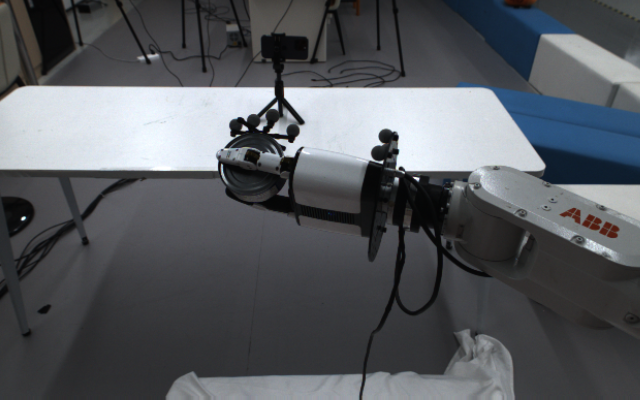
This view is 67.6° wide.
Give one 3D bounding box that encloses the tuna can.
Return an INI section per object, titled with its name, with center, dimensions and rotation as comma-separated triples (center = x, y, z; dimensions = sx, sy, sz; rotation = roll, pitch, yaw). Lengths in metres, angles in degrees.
[tuna can]
center = -0.084, -0.042, 0.622
dimensions = 0.085, 0.034, 0.085
rotation = -3, 69, 8
